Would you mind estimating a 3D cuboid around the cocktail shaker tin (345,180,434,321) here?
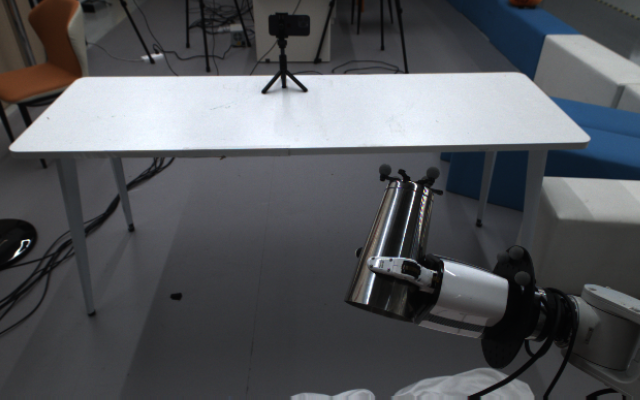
[{"bbox_3d":[0.099,0.065,0.640,0.093,0.093,0.170,13,74,15],"label":"cocktail shaker tin"}]
